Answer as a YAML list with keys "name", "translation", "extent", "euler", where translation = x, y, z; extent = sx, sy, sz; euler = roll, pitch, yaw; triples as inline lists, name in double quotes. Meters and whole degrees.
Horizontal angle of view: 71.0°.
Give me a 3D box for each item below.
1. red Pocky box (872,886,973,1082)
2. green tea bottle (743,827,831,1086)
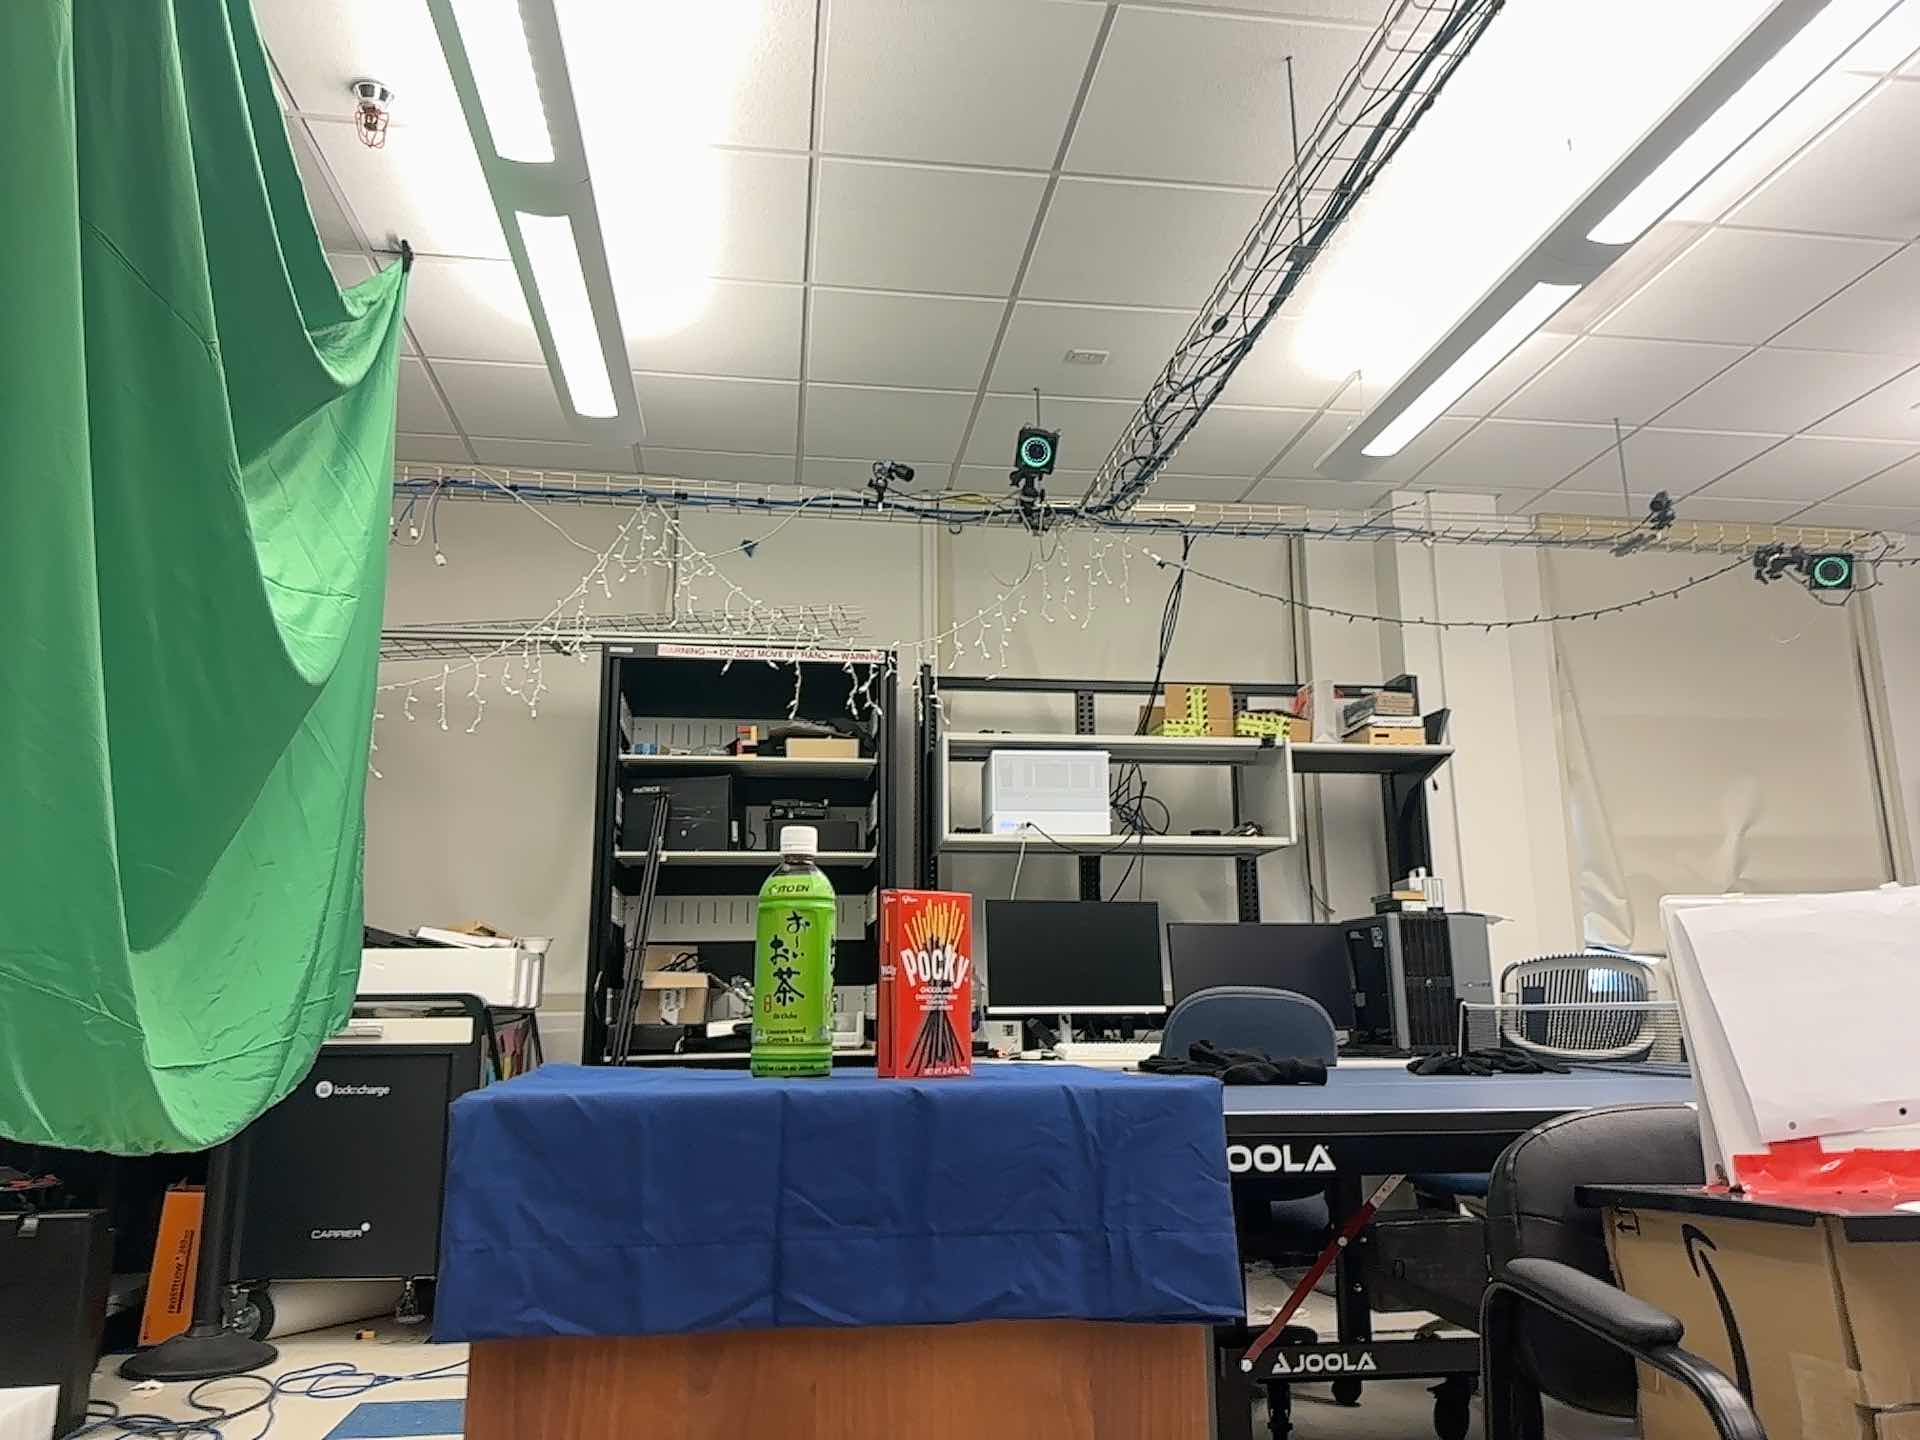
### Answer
- name: "red Pocky box"
  translation: [-0.030, 0.215, 1.098]
  extent: [0.083, 0.155, 0.028]
  euler: [8, -13, -36]
- name: "green tea bottle"
  translation: [-0.145, 0.196, 1.128]
  extent: [0.073, 0.212, 0.073]
  euler: [-2, -11, 0]
